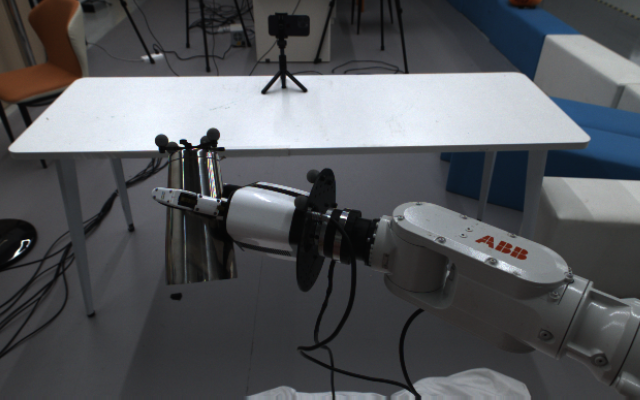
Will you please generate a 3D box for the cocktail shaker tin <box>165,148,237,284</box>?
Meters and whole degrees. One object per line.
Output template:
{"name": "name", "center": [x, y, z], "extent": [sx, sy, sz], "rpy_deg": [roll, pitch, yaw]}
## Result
{"name": "cocktail shaker tin", "center": [-0.163, 0.023, 0.642], "extent": [0.093, 0.170, 0.093], "rpy_deg": [-6, -7, -1]}
